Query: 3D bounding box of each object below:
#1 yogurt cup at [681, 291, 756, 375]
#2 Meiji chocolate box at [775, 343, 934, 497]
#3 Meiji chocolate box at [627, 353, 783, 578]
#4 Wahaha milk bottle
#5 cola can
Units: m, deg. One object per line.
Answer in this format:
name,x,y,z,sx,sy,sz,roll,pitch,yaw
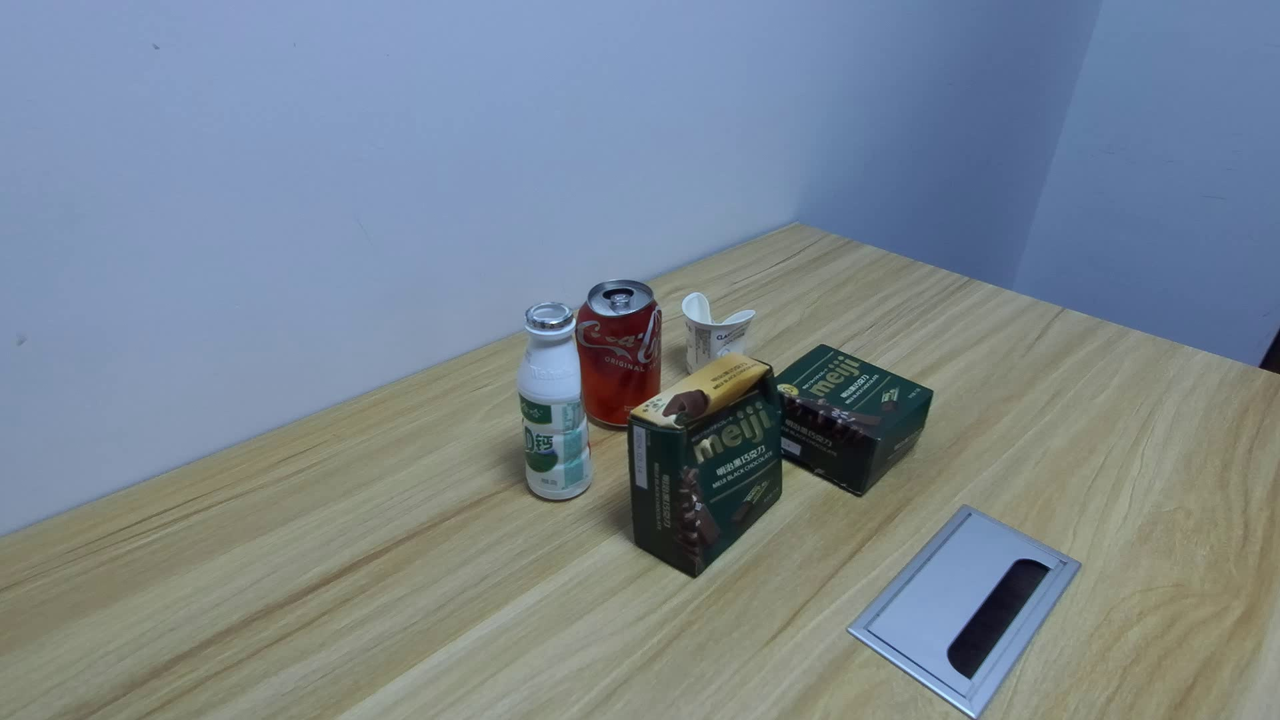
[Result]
yogurt cup,0.068,-0.019,0.659,0.067,0.070,0.067,3,34,-1
Meiji chocolate box,0.165,0.044,0.580,0.122,0.058,0.116,26,37,34
Meiji chocolate box,0.049,0.065,0.485,0.051,0.117,0.118,17,34,39
Wahaha milk bottle,-0.060,0.031,0.507,0.056,0.148,0.056,1,29,0
cola can,-0.012,-0.005,0.595,0.072,0.117,0.066,22,38,30
